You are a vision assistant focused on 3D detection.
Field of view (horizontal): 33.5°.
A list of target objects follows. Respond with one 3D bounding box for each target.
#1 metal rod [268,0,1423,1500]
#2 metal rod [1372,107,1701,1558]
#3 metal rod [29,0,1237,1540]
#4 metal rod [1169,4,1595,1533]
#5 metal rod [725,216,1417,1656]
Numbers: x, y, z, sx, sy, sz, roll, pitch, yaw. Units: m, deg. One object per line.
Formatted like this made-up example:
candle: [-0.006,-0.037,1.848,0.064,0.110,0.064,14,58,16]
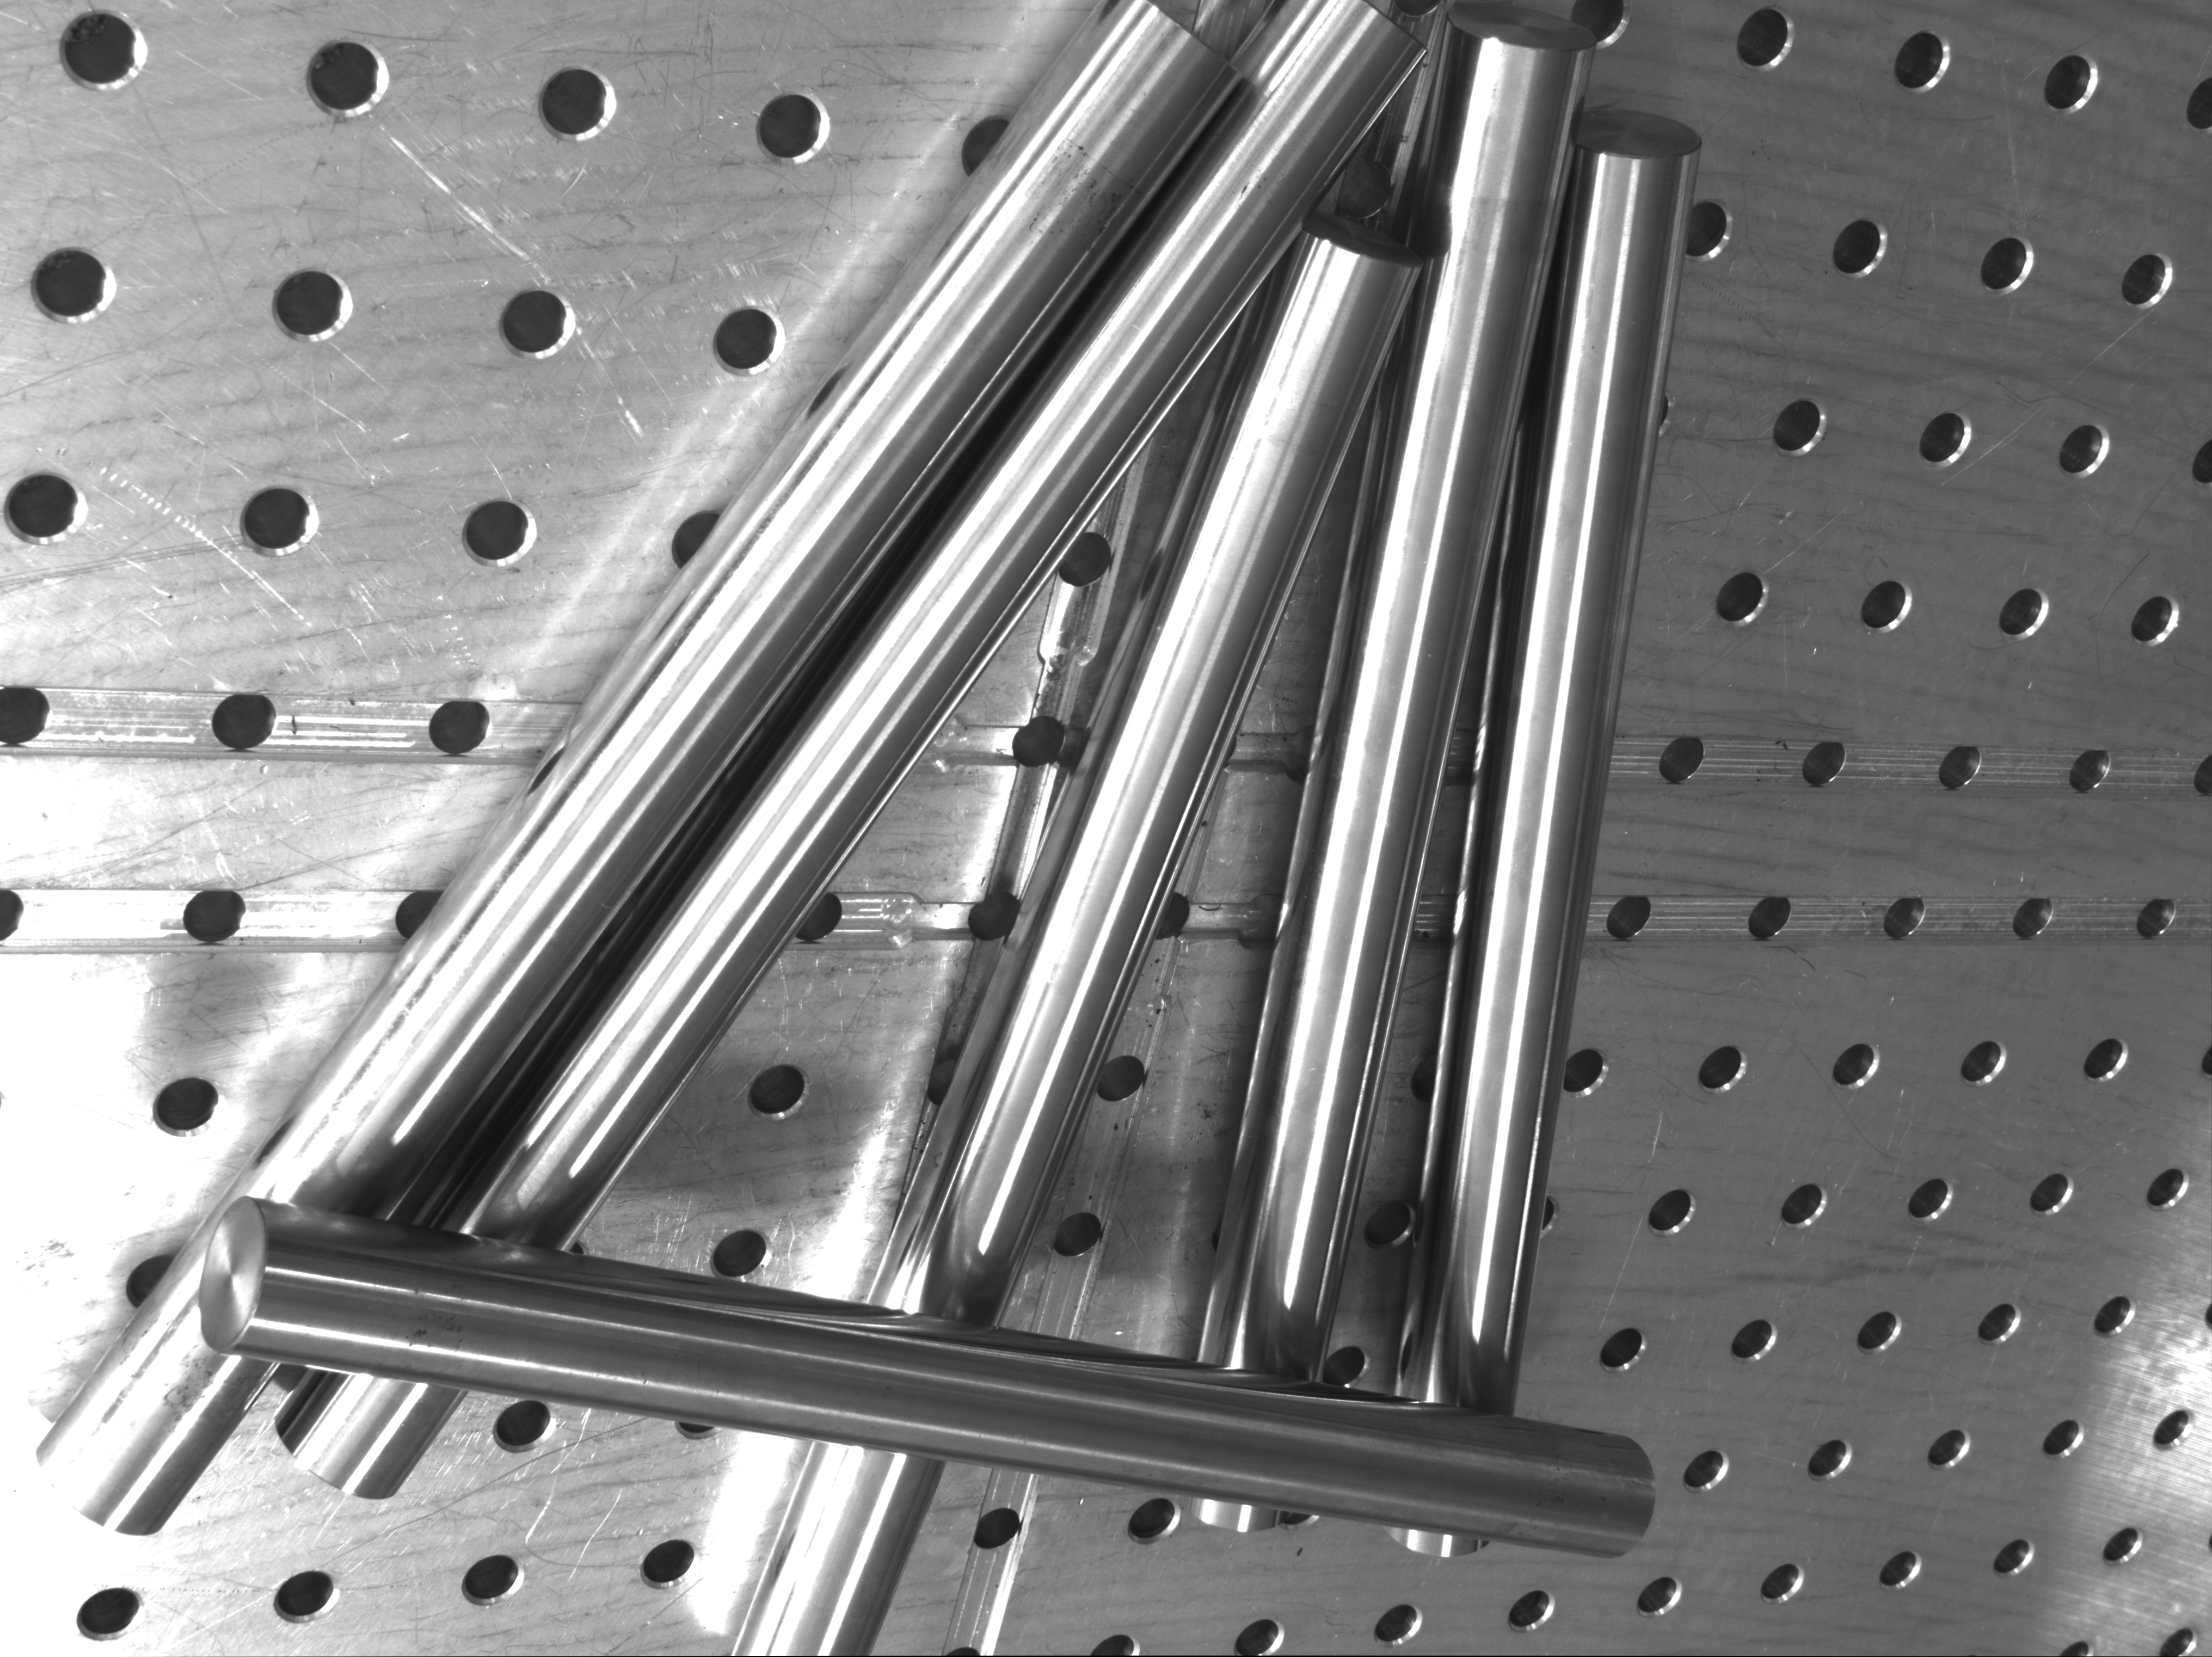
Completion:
metal rod: [-0.047,-0.012,0.609,0.025,0.025,0.300,29,102,-37]
metal rod: [0.078,0.013,0.690,0.025,0.025,0.300,-10,122,-23]
metal rod: [-0.080,-0.007,0.593,0.025,0.025,0.300,31,101,-38]
metal rod: [0.046,0.001,0.666,0.025,0.025,0.300,-5,120,-26]
metal rod: [-0.011,0.034,0.655,0.025,0.025,0.300,8,114,-32]
